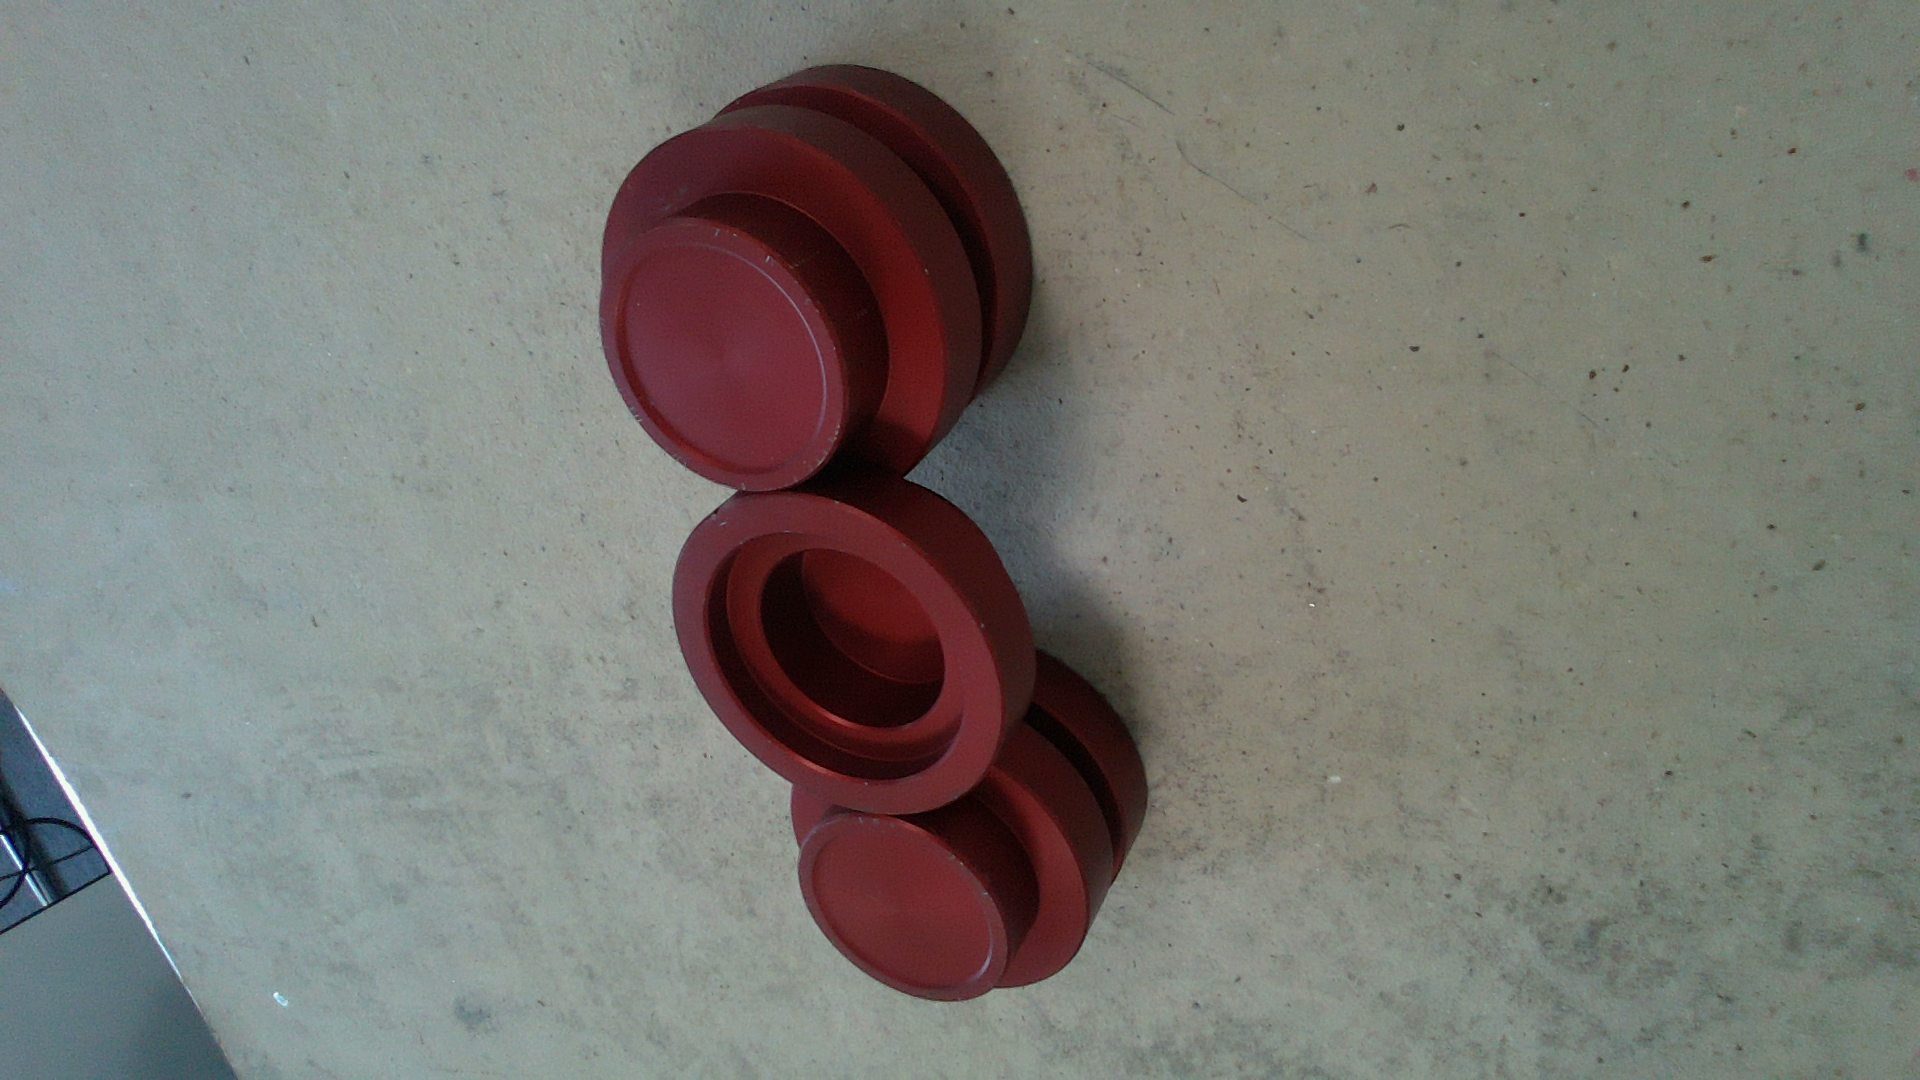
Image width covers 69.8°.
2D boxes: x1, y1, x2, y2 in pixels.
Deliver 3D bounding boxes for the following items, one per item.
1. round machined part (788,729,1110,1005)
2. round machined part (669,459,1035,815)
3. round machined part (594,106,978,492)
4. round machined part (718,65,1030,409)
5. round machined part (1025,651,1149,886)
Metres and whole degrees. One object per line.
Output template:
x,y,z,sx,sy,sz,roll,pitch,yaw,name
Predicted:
-0.009,0.096,0.403,0.098,0.042,0.098,14,125,21,round machined part
-0.025,0.022,0.368,0.098,0.042,0.098,13,124,21,round machined part
-0.048,-0.051,0.334,0.098,0.042,0.098,14,125,21,round machined part
-0.035,-0.069,0.358,0.098,0.042,0.098,15,126,22,round machined part
0.006,0.081,0.430,0.098,0.042,0.098,14,123,22,round machined part
